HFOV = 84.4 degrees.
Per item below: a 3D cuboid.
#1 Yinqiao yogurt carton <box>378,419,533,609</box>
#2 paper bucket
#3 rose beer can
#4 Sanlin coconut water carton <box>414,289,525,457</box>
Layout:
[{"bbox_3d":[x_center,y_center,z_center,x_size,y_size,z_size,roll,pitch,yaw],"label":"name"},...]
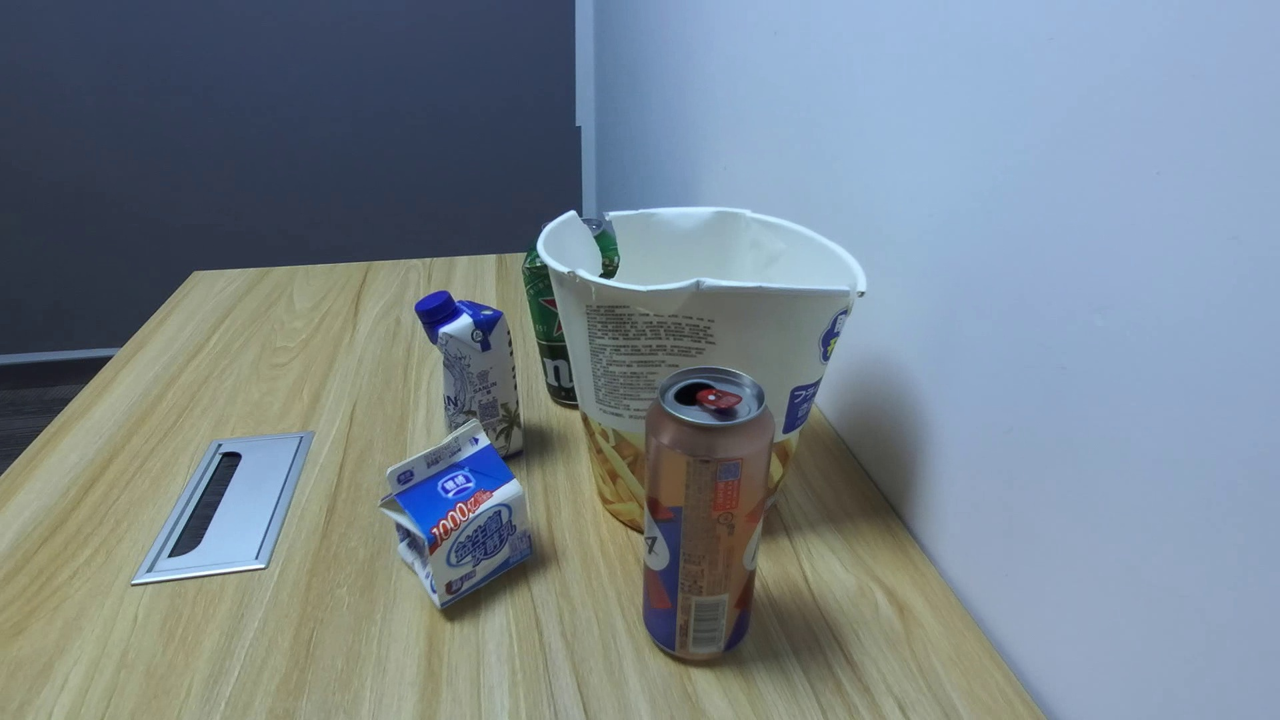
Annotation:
[{"bbox_3d":[-0.126,0.093,0.461,0.080,0.097,0.075,18,33,42],"label":"Yinqiao yogurt carton"},{"bbox_3d":[0.033,0.006,0.508,0.203,0.197,0.145,0,29,-2],"label":"paper bucket"},{"bbox_3d":[0.036,0.090,0.397,0.068,0.169,0.068,0,30,0],"label":"rose beer can"},{"bbox_3d":[-0.132,0.010,0.560,0.070,0.144,0.060,-17,32,-25],"label":"Sanlin coconut water carton"}]
